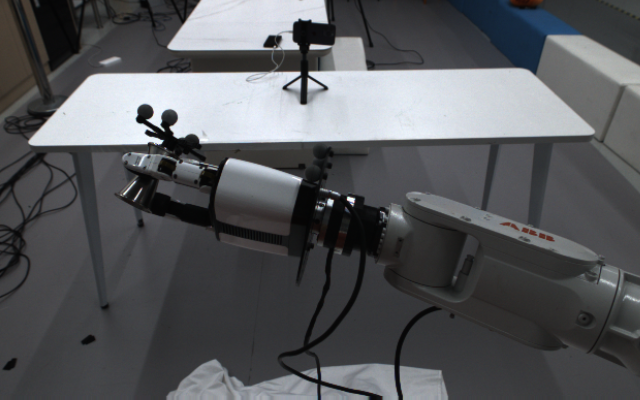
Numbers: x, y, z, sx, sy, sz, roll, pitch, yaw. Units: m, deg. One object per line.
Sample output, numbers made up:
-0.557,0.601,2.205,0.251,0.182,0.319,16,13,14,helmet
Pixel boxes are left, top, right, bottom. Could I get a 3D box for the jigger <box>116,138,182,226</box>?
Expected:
-0.189,-0.026,0.534,0.043,0.043,0.071,20,73,23,jigger
